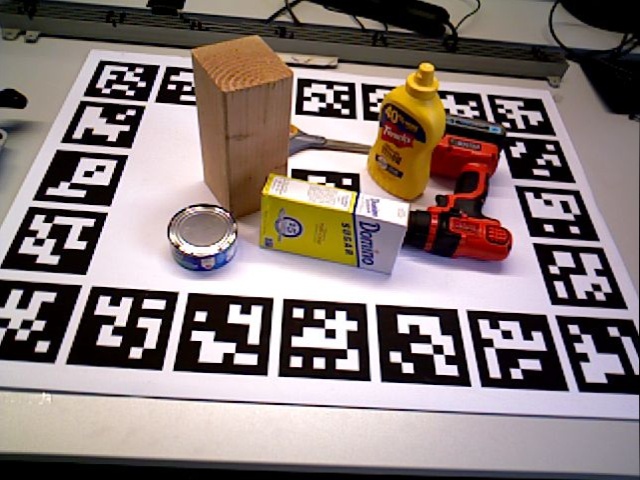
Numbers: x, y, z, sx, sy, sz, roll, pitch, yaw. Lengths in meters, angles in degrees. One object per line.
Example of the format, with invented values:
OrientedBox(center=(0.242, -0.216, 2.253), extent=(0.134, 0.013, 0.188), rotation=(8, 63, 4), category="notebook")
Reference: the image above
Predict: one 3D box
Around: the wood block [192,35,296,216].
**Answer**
OrientedBox(center=(-0.095, -0.137, 0.674), extent=(0.089, 0.211, 0.089), rotation=(-20, 58, -21), category="wood block")

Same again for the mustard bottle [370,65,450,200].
OrientedBox(center=(0.122, -0.147, 0.713), extent=(0.057, 0.196, 0.096), rotation=(-31, 63, -26), category="mustard bottle")

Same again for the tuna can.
OrientedBox(center=(-0.145, -0.009, 0.667), extent=(0.085, 0.034, 0.084), rotation=(3, 54, -5), category="tuna can")

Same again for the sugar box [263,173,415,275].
OrientedBox(center=(0.022, -0.019, 0.660), extent=(0.176, 0.095, 0.044), rotation=(15, 49, 3), category="sugar box")

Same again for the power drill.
OrientedBox(center=(0.162, -0.067, 0.732), extent=(0.184, 0.058, 0.184), rotation=(14, 60, 5), category="power drill")

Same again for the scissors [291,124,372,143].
OrientedBox(center=(-0.023, -0.156, 0.805), extent=(0.202, 0.016, 0.086), rotation=(6, 49, -2), category="scissors")
